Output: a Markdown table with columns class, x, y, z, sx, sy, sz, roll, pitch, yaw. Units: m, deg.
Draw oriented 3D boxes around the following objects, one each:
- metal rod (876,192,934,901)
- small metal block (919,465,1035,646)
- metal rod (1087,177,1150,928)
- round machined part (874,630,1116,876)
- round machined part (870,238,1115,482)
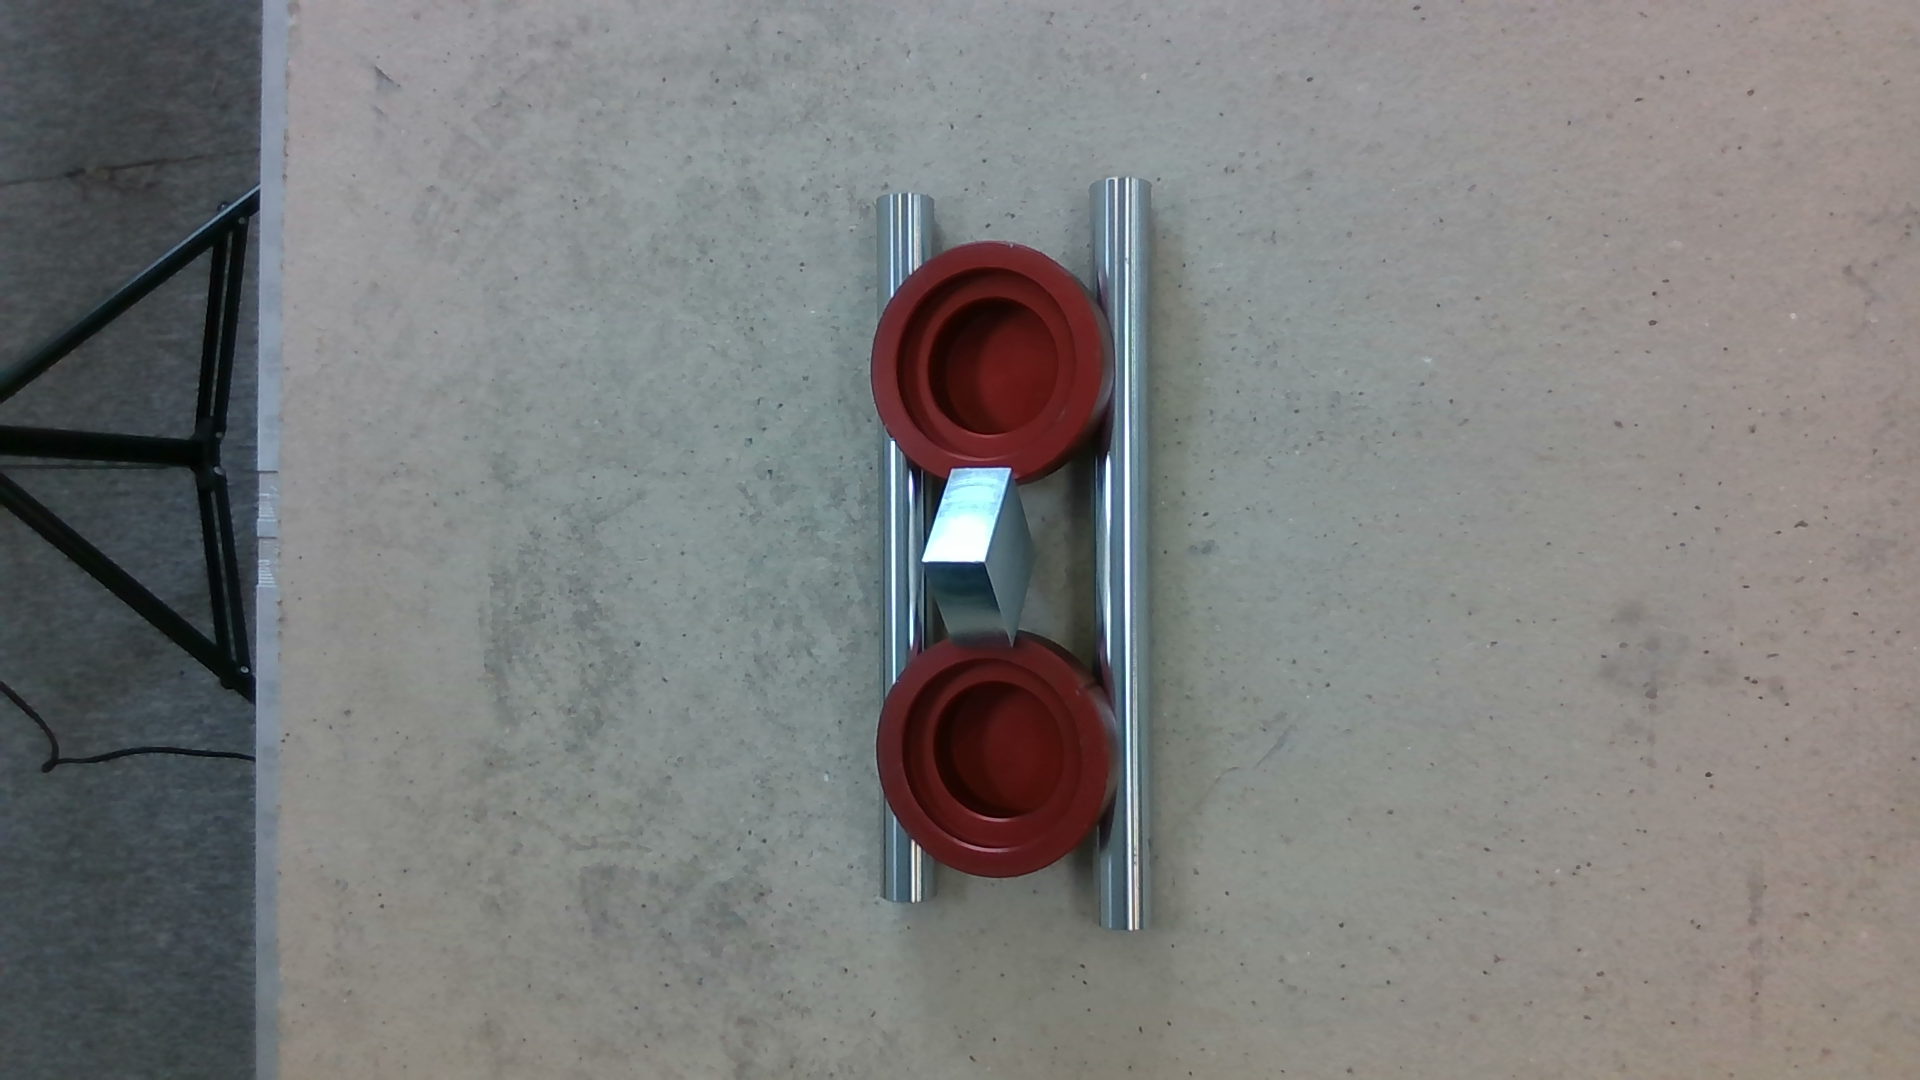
| class | x | y | z | sx | sy | sz | roll | pitch | yaw |
| --- | --- | --- | --- | --- | --- | --- | --- | --- | --- |
| metal rod | -0.024 | 0.003 | 0.594 | 0.025 | 0.025 | 0.300 | 0 | 91 | 20 |
| small metal block | 0.008 | 0.006 | 0.542 | 0.025 | 0.050 | 0.050 | 0 | 47 | 19 |
| metal rod | 0.065 | 0.005 | 0.562 | 0.025 | 0.025 | 0.300 | 0 | 91 | 20 |
| round machined part | 0.017 | 0.085 | 0.566 | 0.098 | 0.042 | 0.098 | 0 | 91 | 20 |
| round machined part | 0.016 | -0.071 | 0.566 | 0.098 | 0.042 | 0.098 | 0 | 91 | 20 |
